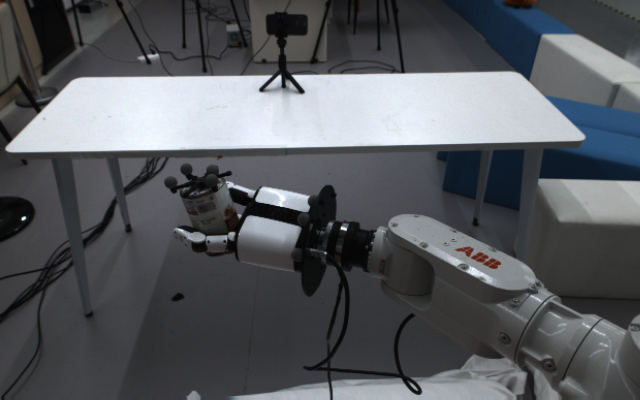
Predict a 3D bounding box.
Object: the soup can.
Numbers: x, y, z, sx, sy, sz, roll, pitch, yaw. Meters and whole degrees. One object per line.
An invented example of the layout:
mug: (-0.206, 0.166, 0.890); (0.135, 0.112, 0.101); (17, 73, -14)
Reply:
soup can: (-0.154, 0.023, 0.702); (0.067, 0.101, 0.067); (-11, 27, 6)
